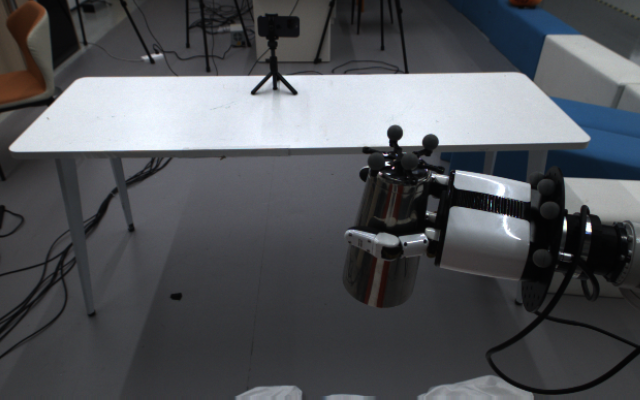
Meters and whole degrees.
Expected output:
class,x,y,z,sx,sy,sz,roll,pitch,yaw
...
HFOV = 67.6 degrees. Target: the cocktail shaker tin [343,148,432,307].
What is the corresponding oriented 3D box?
class,x,y,z,sx,sy,sz,roll,pitch,yaw
cocktail shaker tin,0.083,0.032,0.565,0.093,0.170,0.093,4,36,-3
